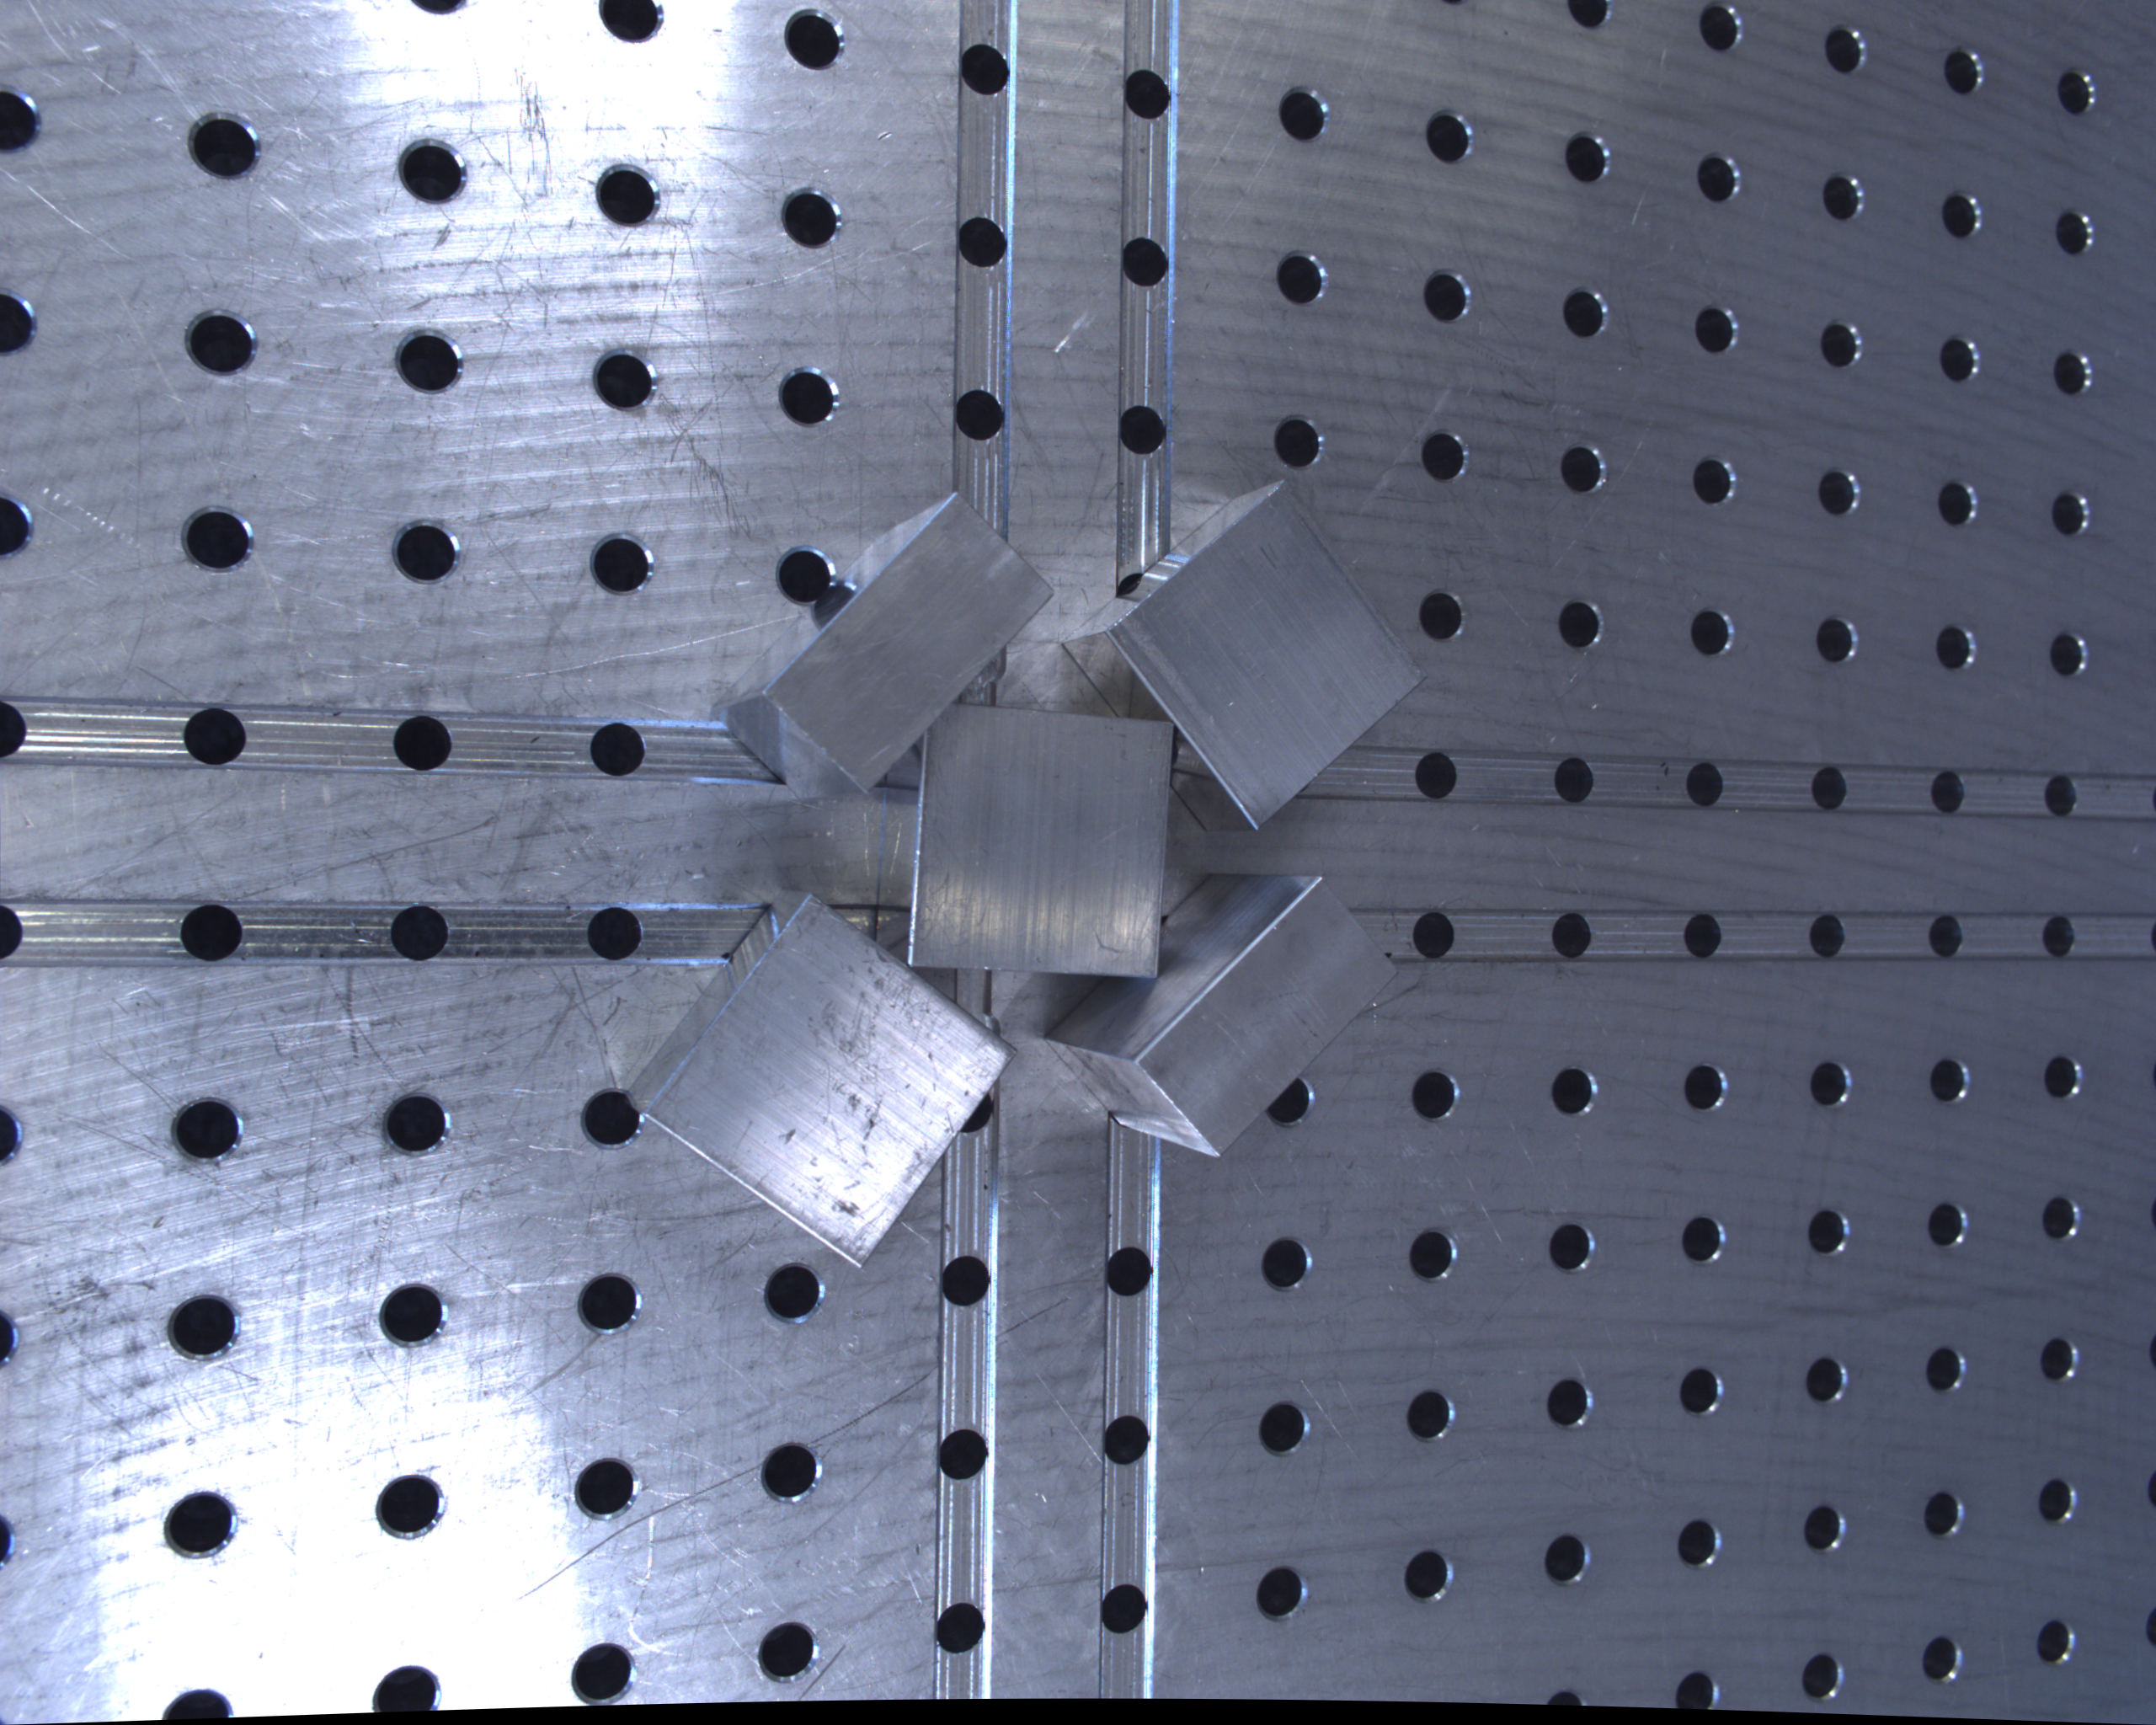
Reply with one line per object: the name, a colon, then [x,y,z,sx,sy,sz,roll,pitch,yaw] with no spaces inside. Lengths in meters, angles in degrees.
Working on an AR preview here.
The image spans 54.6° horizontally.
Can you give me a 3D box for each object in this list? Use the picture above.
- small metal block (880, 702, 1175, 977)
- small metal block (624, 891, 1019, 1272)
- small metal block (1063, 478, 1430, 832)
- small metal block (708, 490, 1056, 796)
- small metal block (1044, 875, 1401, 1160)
small metal block: [-0.010,-0.004,0.408,0.050,0.025,0.050,4,88,-19]
small metal block: [-0.049,0.040,0.394,0.050,0.025,0.050,40,77,-16]
small metal block: [0.034,-0.041,0.425,0.050,0.025,0.050,-42,103,-15]
small metal block: [-0.037,-0.039,0.385,0.025,0.050,0.050,46,77,-15]
small metal block: [0.027,0.028,0.409,0.050,0.050,0.025,-44,104,-15]
